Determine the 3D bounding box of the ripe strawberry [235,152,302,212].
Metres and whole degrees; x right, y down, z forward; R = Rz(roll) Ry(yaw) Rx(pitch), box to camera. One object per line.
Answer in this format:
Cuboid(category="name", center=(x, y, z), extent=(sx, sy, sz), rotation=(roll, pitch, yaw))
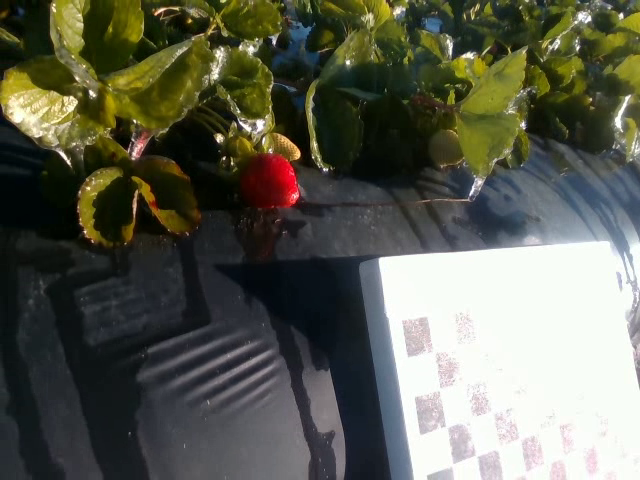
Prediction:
Cuboid(category="ripe strawberry", center=(-0.020, -0.026, 0.295), extent=(0.039, 0.040, 0.039), rotation=(-15, 24, -28))
